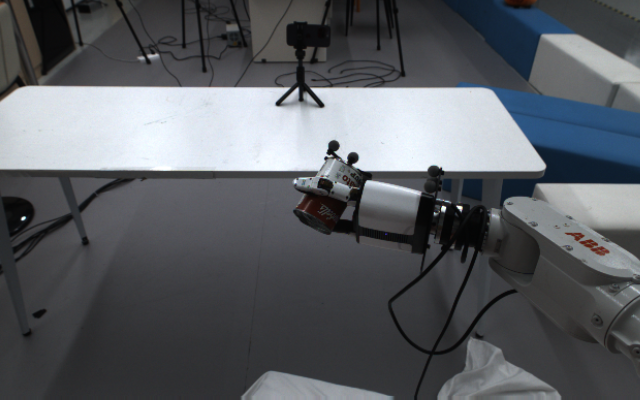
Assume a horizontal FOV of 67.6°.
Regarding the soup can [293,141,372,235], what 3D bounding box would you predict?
[{"bbox_3d":[0.014,-0.007,0.742,0.067,0.067,0.101,24,73,28],"label":"soup can"}]
